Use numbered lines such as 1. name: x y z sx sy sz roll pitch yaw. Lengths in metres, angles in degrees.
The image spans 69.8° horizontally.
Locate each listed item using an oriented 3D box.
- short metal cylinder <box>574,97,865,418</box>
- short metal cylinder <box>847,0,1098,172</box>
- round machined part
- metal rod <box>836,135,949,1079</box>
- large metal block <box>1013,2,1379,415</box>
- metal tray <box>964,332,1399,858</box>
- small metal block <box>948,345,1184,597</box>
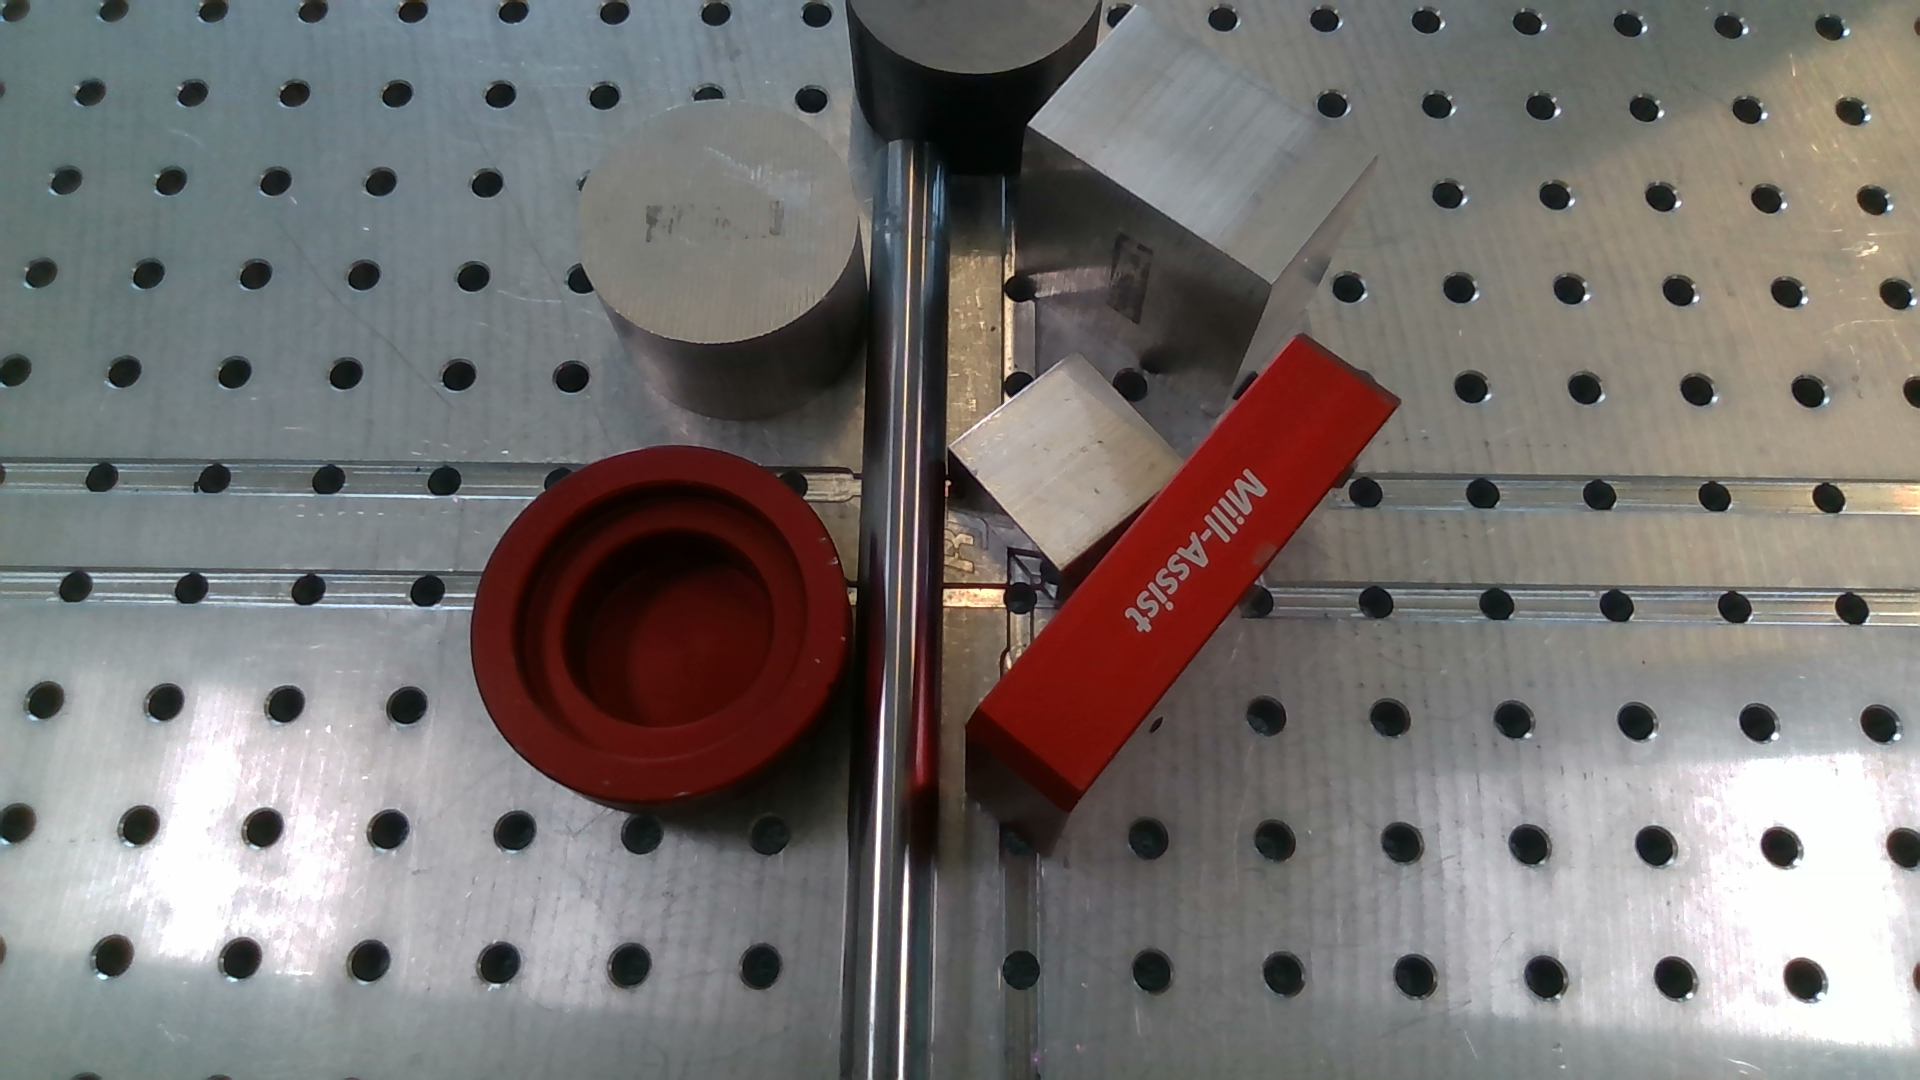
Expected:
1. short metal cylinder: -0.069 -0.084 0.414 0.080 0.050 0.080 0 70 0
2. short metal cylinder: 0.004 -0.167 0.444 0.080 0.050 0.080 0 70 0
3. round machined part: -0.079 0.027 0.380 0.098 0.042 0.098 0 70 0
4. metal rod: -0.018 0.019 0.391 0.025 0.025 0.299 1 70 0
5. large metal block: 0.064 -0.093 0.402 0.080 0.080 0.050 37 75 12
6. metal tray: 0.054 0.018 0.357 0.030 0.090 0.130 38 75 13
7. small metal block: 0.032 -0.020 0.405 0.050 0.025 0.050 -37 75 -12
